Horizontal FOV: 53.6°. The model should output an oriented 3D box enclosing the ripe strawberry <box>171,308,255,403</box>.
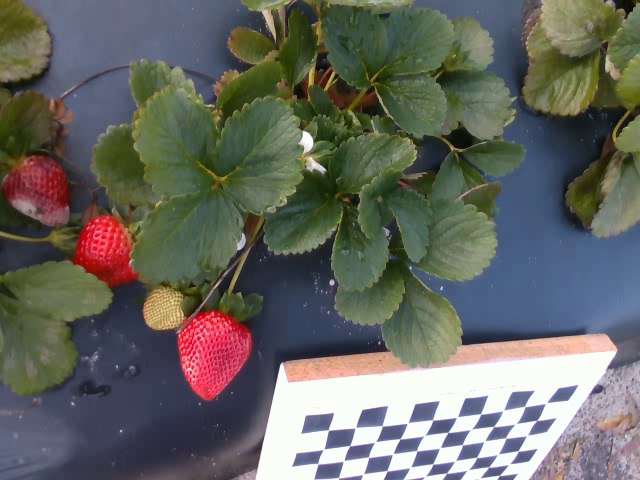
[{"bbox_3d":[-0.031,0.036,0.181,0.022,0.030,0.025,3,-40,11],"label":"ripe strawberry"}]
